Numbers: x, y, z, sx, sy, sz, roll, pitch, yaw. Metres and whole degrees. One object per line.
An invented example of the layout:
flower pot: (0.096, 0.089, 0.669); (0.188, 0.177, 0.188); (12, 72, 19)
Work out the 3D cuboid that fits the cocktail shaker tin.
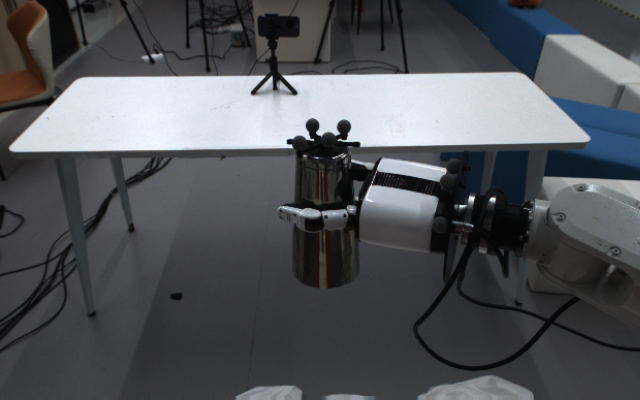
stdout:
cocktail shaker tin: (0.008, 0.015, 0.619); (0.093, 0.170, 0.093); (-1, 26, 1)
